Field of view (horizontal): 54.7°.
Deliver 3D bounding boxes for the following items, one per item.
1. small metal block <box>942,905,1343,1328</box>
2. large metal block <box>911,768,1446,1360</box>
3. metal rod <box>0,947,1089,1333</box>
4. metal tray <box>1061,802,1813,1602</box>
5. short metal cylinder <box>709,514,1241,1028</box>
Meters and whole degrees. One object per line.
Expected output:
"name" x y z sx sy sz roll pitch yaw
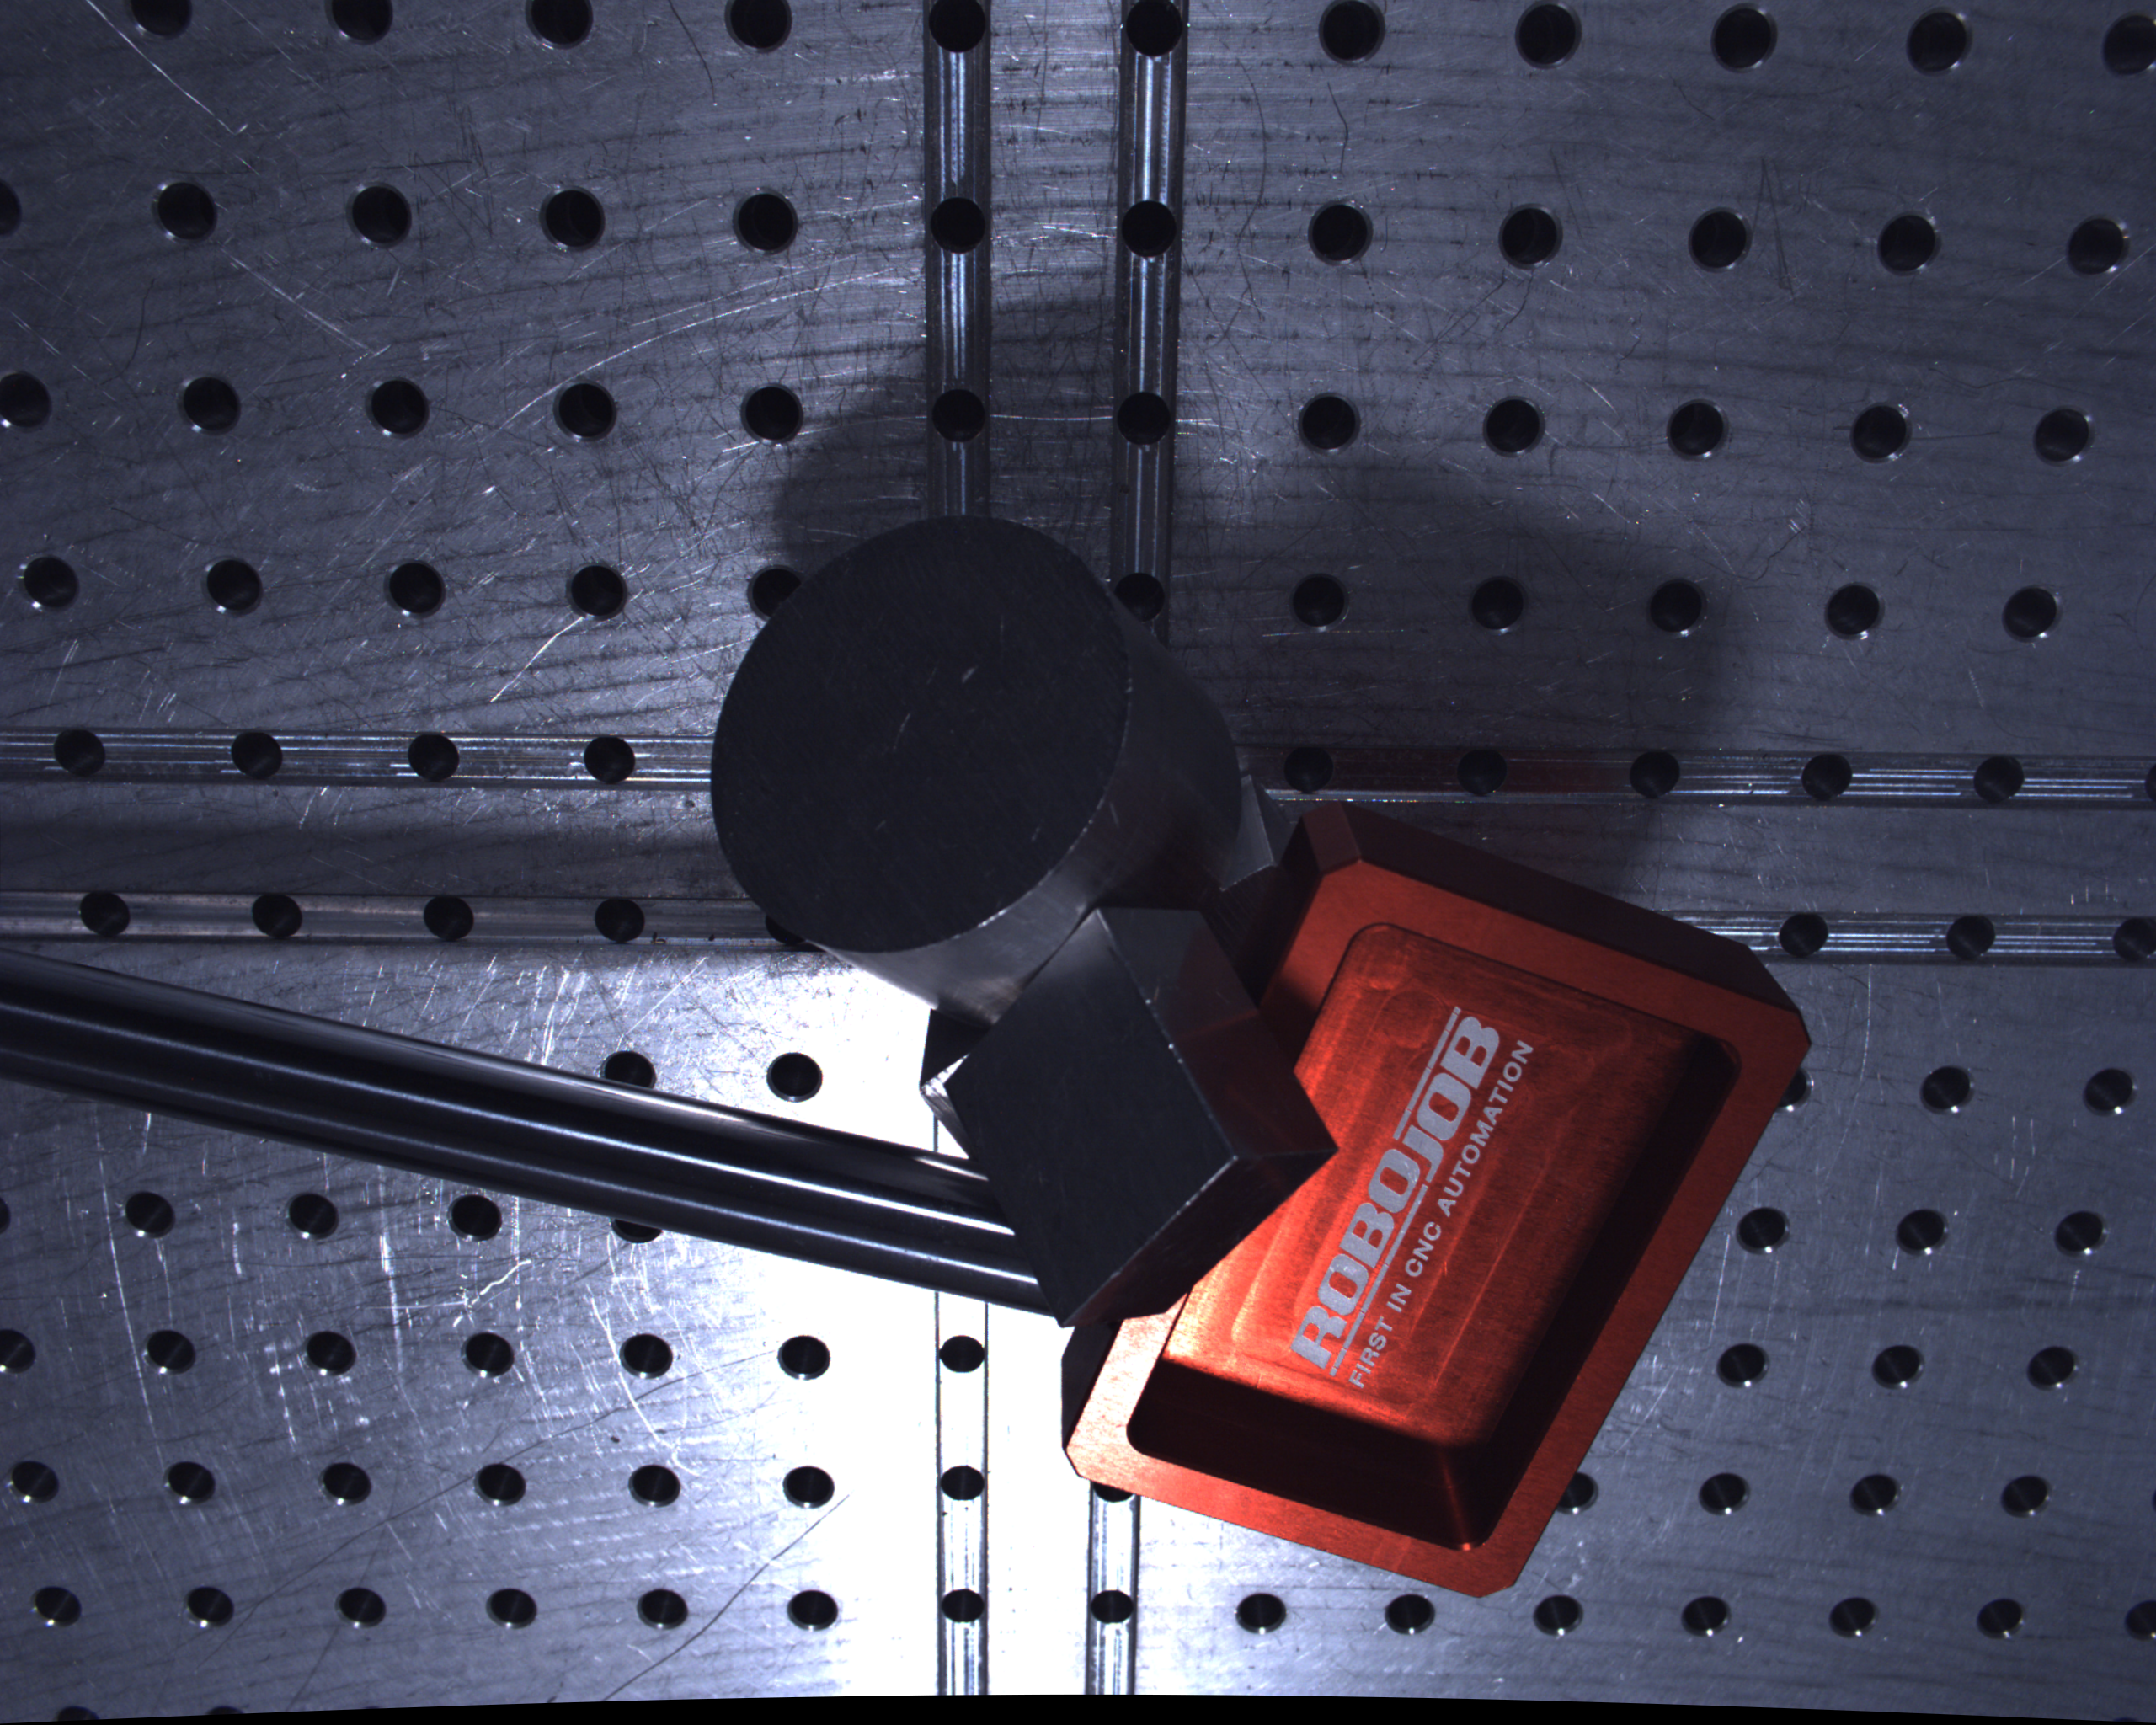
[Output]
"small metal block" 0.009 0.042 0.352 0.025 0.050 0.050 4 137 -43
"large metal block" 0.025 0.042 0.414 0.080 0.050 0.080 -34 107 11
"metal rod" -0.142 0.043 0.396 0.302 0.025 0.025 12 110 7
"metal tray" 0.061 0.064 0.379 0.091 0.030 0.129 19 109 -7
"short metal cylinder" -0.018 -0.015 0.372 0.080 0.080 0.050 -33 150 11
